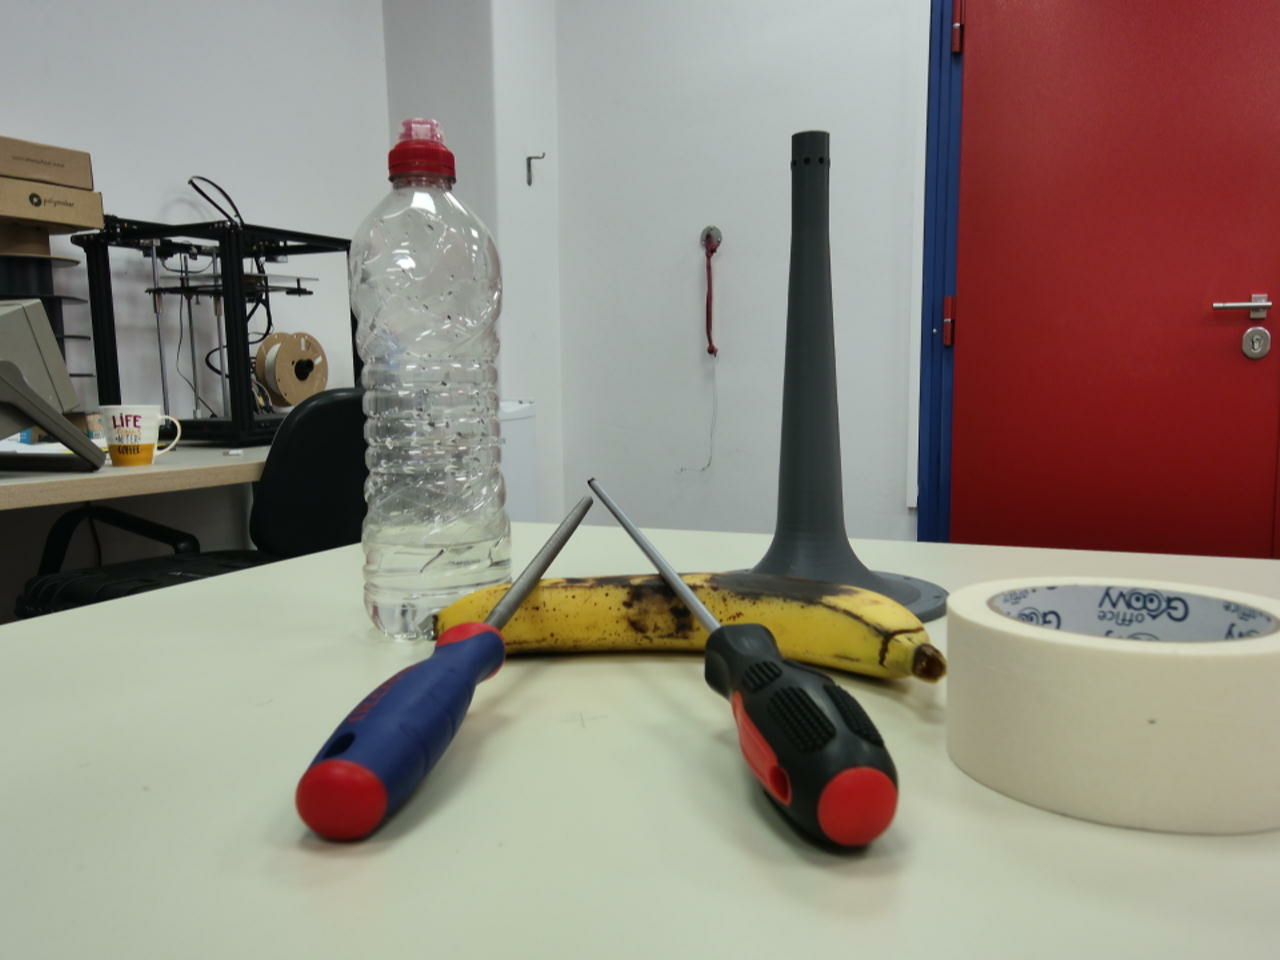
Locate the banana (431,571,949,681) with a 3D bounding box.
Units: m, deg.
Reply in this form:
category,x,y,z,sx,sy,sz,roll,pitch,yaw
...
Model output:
category,x,y,z,sx,sy,sz,roll,pitch,yaw
banana,0.023,0.061,0.431,0.222,0.037,0.084,2,4,25
